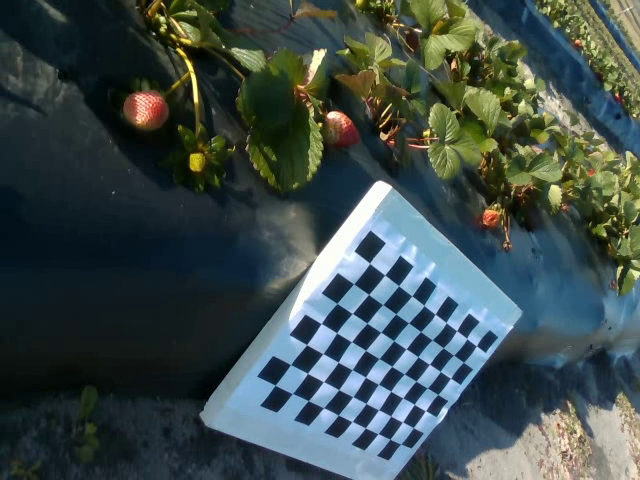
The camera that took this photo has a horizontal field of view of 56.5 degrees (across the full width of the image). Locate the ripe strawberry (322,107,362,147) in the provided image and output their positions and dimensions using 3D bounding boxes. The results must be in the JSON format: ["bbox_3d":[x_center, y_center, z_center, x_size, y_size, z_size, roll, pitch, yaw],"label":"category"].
[{"bbox_3d":[0.025,-0.118,0.636,0.064,0.044,0.043,15,14,-40],"label":"ripe strawberry"}]
